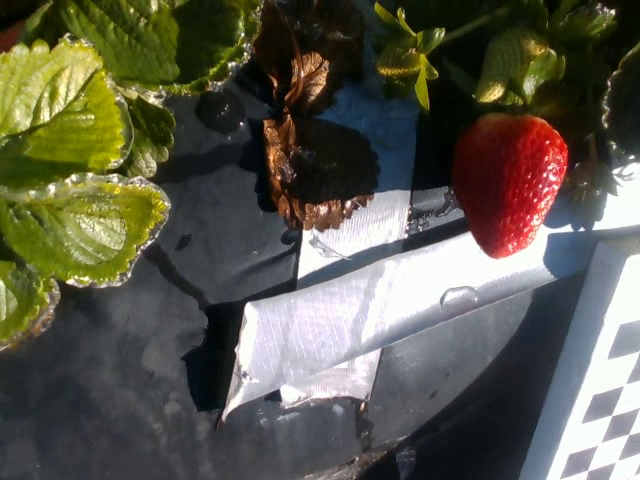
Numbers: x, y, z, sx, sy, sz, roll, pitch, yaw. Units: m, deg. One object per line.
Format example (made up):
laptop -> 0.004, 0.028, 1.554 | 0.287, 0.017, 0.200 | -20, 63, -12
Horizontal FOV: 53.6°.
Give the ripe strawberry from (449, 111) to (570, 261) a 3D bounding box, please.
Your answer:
ripe strawberry -> 0.088, -0.018, 0.284 | 0.061, 0.065, 0.057 | 24, -27, -35
